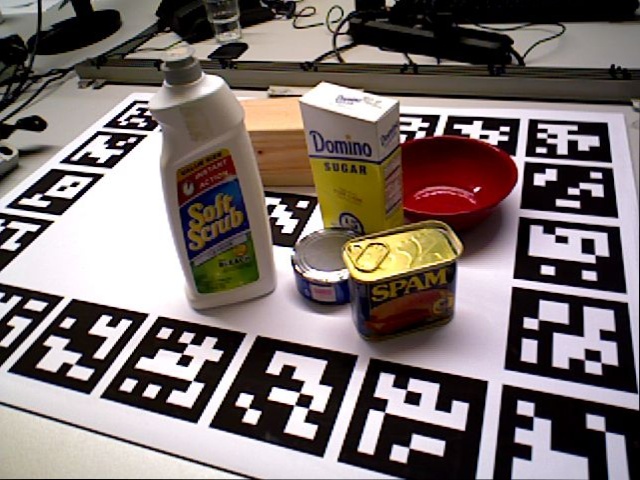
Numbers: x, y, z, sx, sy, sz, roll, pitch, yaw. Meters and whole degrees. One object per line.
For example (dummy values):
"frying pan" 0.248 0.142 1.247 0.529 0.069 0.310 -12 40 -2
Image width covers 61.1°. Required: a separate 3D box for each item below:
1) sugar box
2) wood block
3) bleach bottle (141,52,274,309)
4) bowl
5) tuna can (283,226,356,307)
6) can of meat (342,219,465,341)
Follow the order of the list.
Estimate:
"sugar box" 0.036 -0.065 0.537 0.093 0.179 0.044 22 50 36
"wood block" -0.089 -0.128 0.714 0.206 0.091 0.089 1 45 11
"bleach bottle" -0.109 -0.051 0.497 0.102 0.255 0.067 -10 39 -1
"bowl" 0.143 -0.060 0.608 0.161 0.056 0.159 -9 38 6
"tuna can" 0.004 0.026 0.549 0.086 0.034 0.084 -7 43 6
"can of meat" 0.075 0.037 0.492 0.101 0.085 0.057 -12 37 -6
